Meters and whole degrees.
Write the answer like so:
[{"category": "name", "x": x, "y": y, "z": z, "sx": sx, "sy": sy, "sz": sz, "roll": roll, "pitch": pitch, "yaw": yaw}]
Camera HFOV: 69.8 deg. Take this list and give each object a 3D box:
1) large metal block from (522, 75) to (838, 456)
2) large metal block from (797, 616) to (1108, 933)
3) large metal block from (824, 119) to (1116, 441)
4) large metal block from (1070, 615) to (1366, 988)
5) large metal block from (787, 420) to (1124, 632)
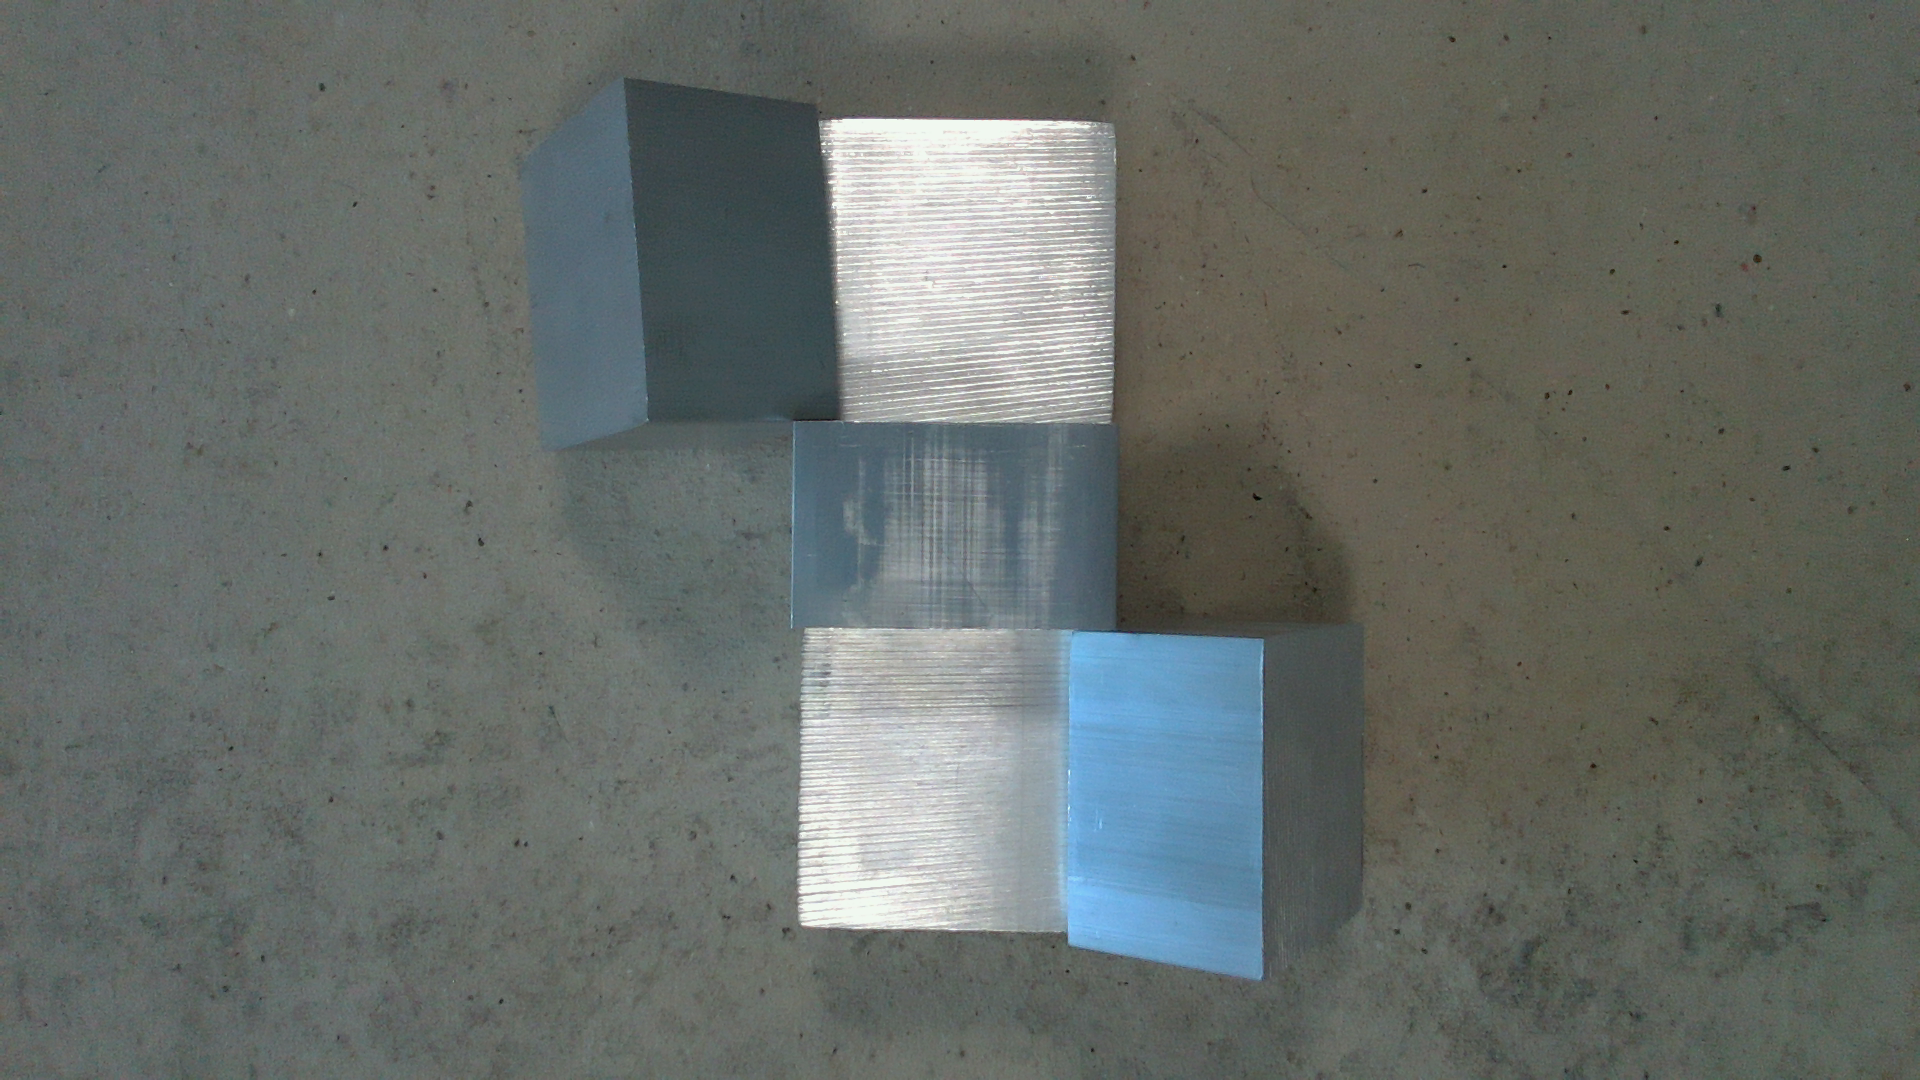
[{"category": "large metal block", "x": -0.076, "y": -0.066, "z": 0.360, "sx": 0.050, "sy": 0.080, "sz": 0.080, "roll": -4, "pitch": 90, "yaw": -34}, {"category": "large metal block", "x": -0.002, "y": 0.062, "z": 0.383, "sx": 0.080, "sy": 0.050, "sz": 0.080, "roll": 1, "pitch": 91, "yaw": 0}, {"category": "large metal block", "x": 0.000, "y": -0.069, "z": 0.381, "sx": 0.080, "sy": 0.050, "sz": 0.080, "roll": 0, "pitch": 90, "yaw": 0}, {"category": "large metal block", "x": 0.070, "y": 0.062, "z": 0.361, "sx": 0.050, "sy": 0.080, "sz": 0.080, "roll": 0, "pitch": 90, "yaw": 32}, {"category": "large metal block", "x": -0.001, "y": -0.004, "z": 0.368, "sx": 0.080, "sy": 0.080, "sz": 0.050, "roll": 0, "pitch": 90, "yaw": 0}]
